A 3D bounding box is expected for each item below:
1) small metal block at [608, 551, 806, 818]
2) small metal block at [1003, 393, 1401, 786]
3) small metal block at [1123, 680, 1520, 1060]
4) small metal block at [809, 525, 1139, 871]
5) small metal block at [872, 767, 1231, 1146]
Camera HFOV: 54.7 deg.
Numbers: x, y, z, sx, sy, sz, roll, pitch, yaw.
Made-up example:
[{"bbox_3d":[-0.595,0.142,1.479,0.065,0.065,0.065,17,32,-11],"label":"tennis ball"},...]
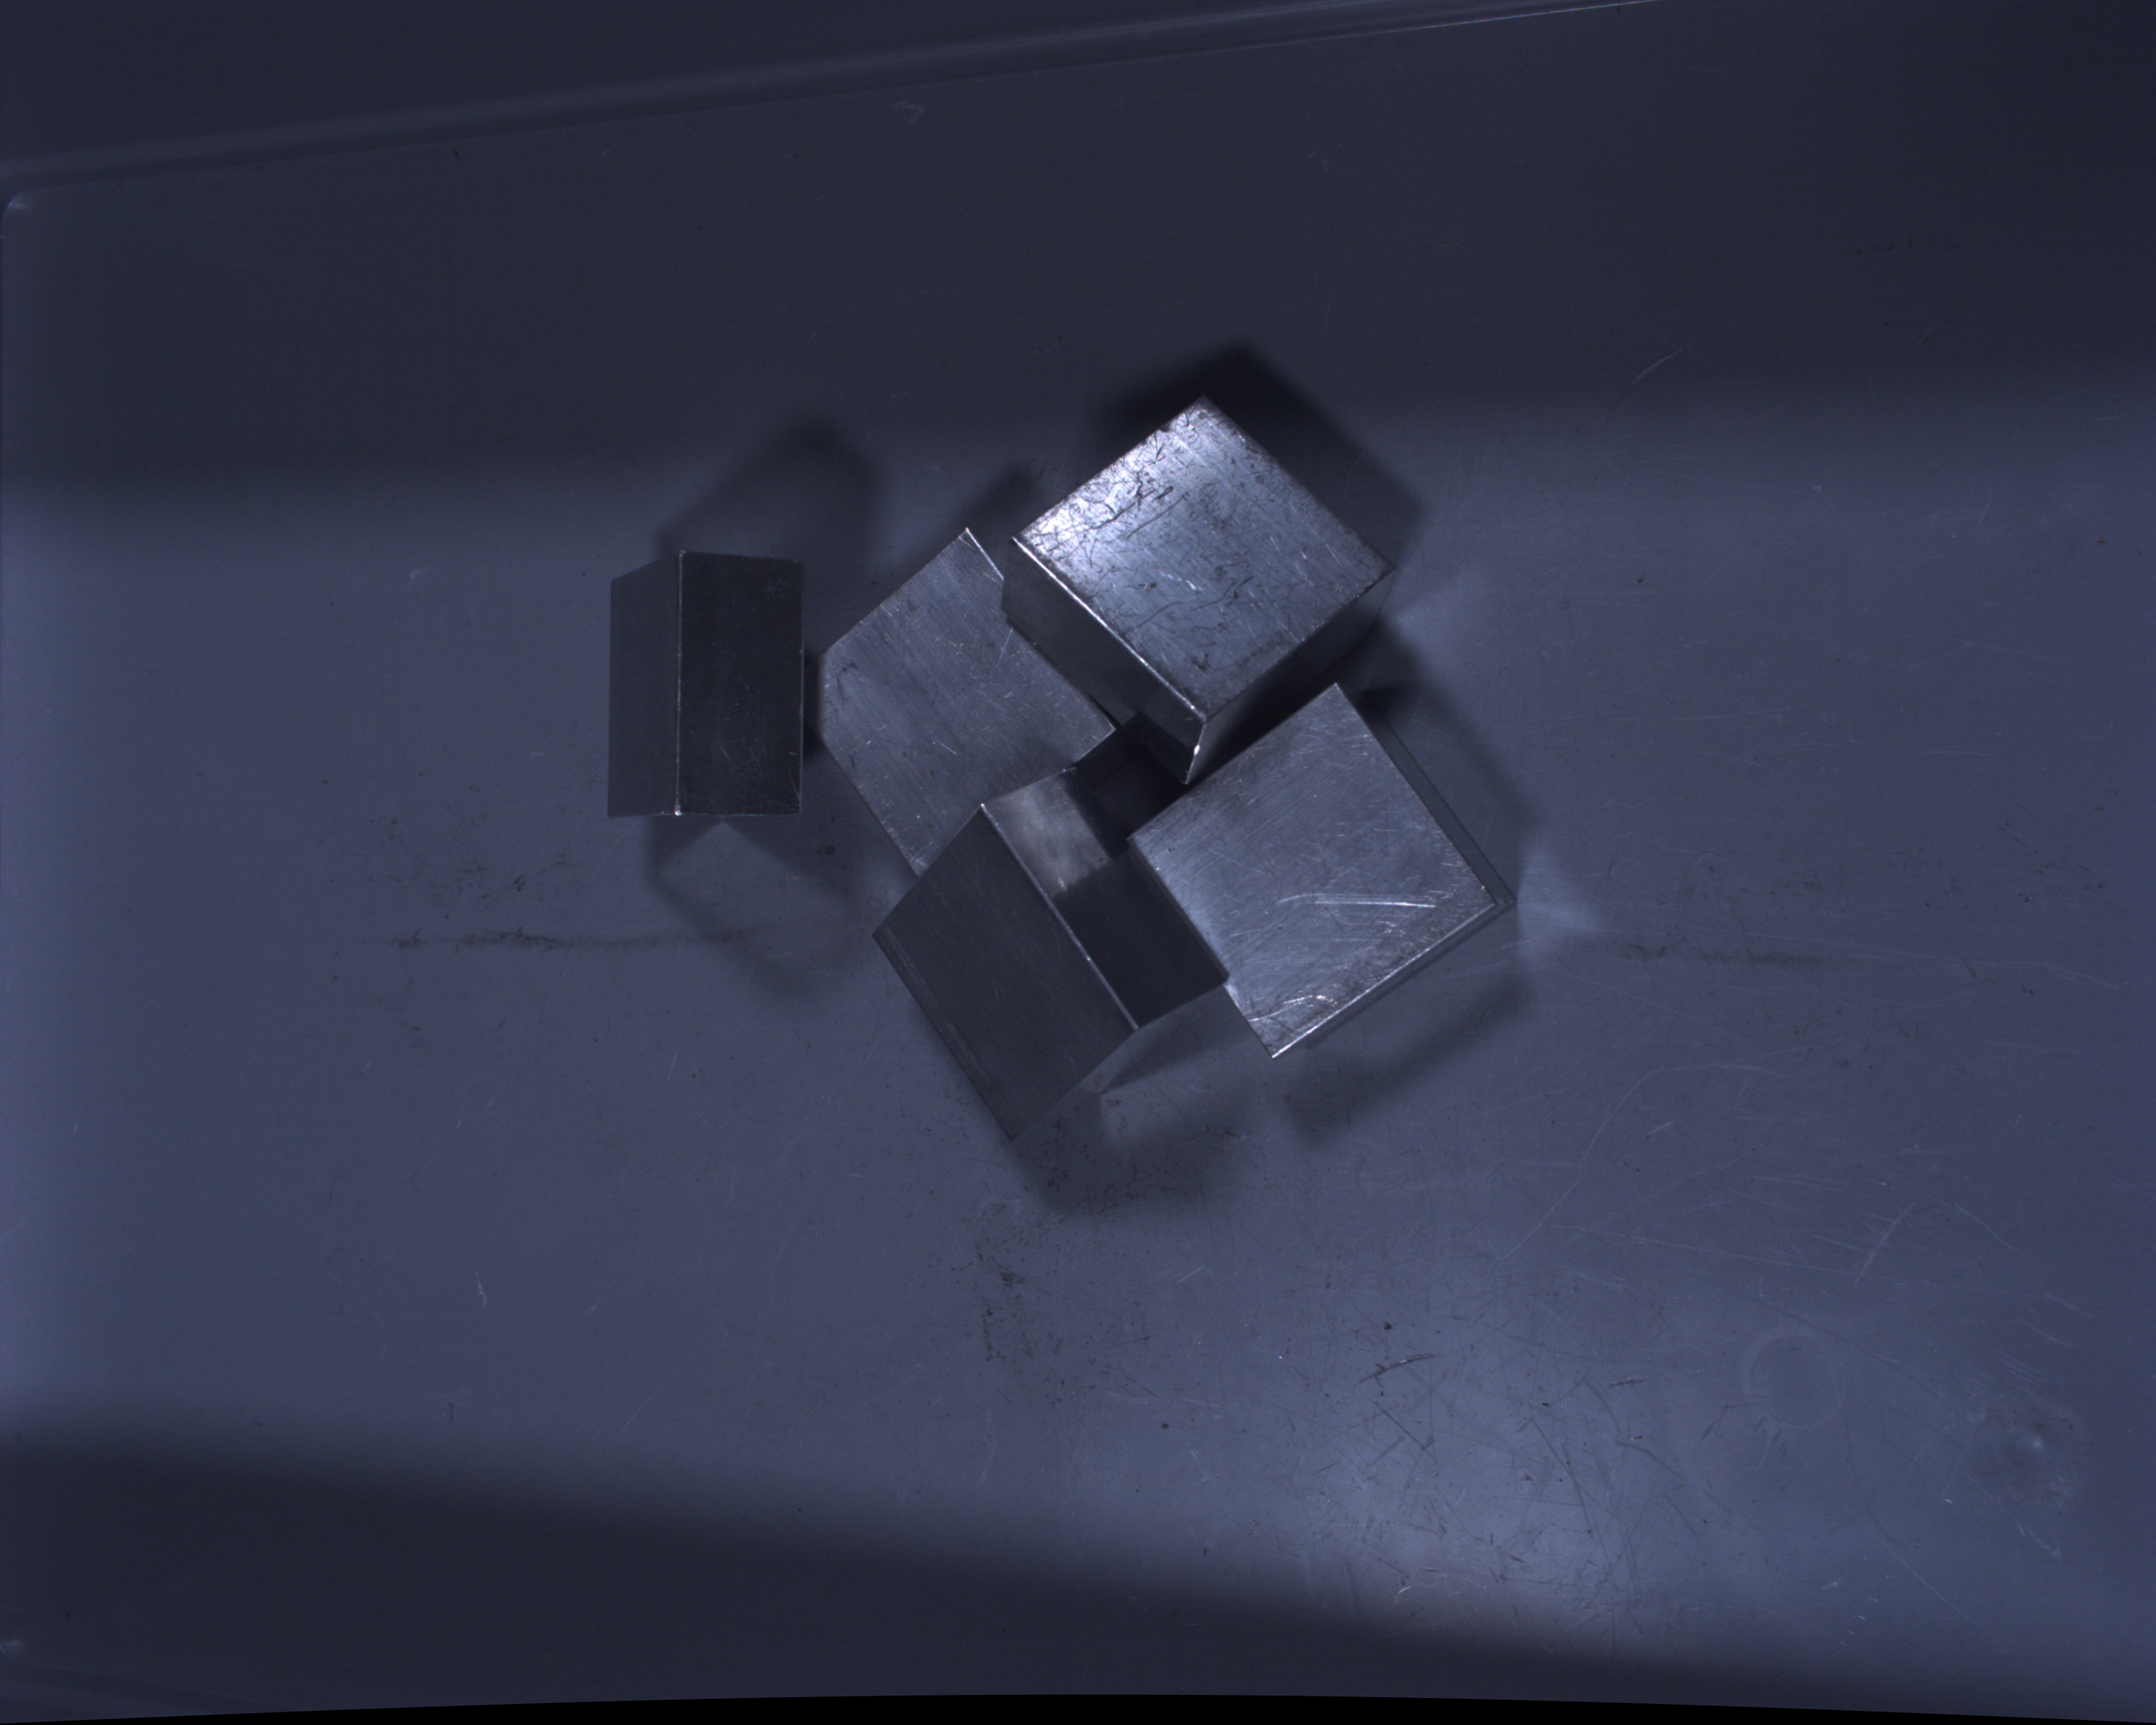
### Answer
[{"bbox_3d":[-0.075,-0.034,0.420,0.050,0.025,0.050,1,90,63],"label":"small metal block"},{"bbox_3d":[0.022,-0.051,0.388,0.050,0.025,0.050,-40,75,-21],"label":"small metal block"},{"bbox_3d":[0.046,0.001,0.392,0.050,0.025,0.050,-37,79,16],"label":"small metal block"},{"bbox_3d":[-0.021,-0.030,0.415,0.050,0.025,0.050,-39,78,15],"label":"small metal block"},{"bbox_3d":[-0.006,0.018,0.398,0.050,0.025,0.050,55,137,12],"label":"small metal block"}]
